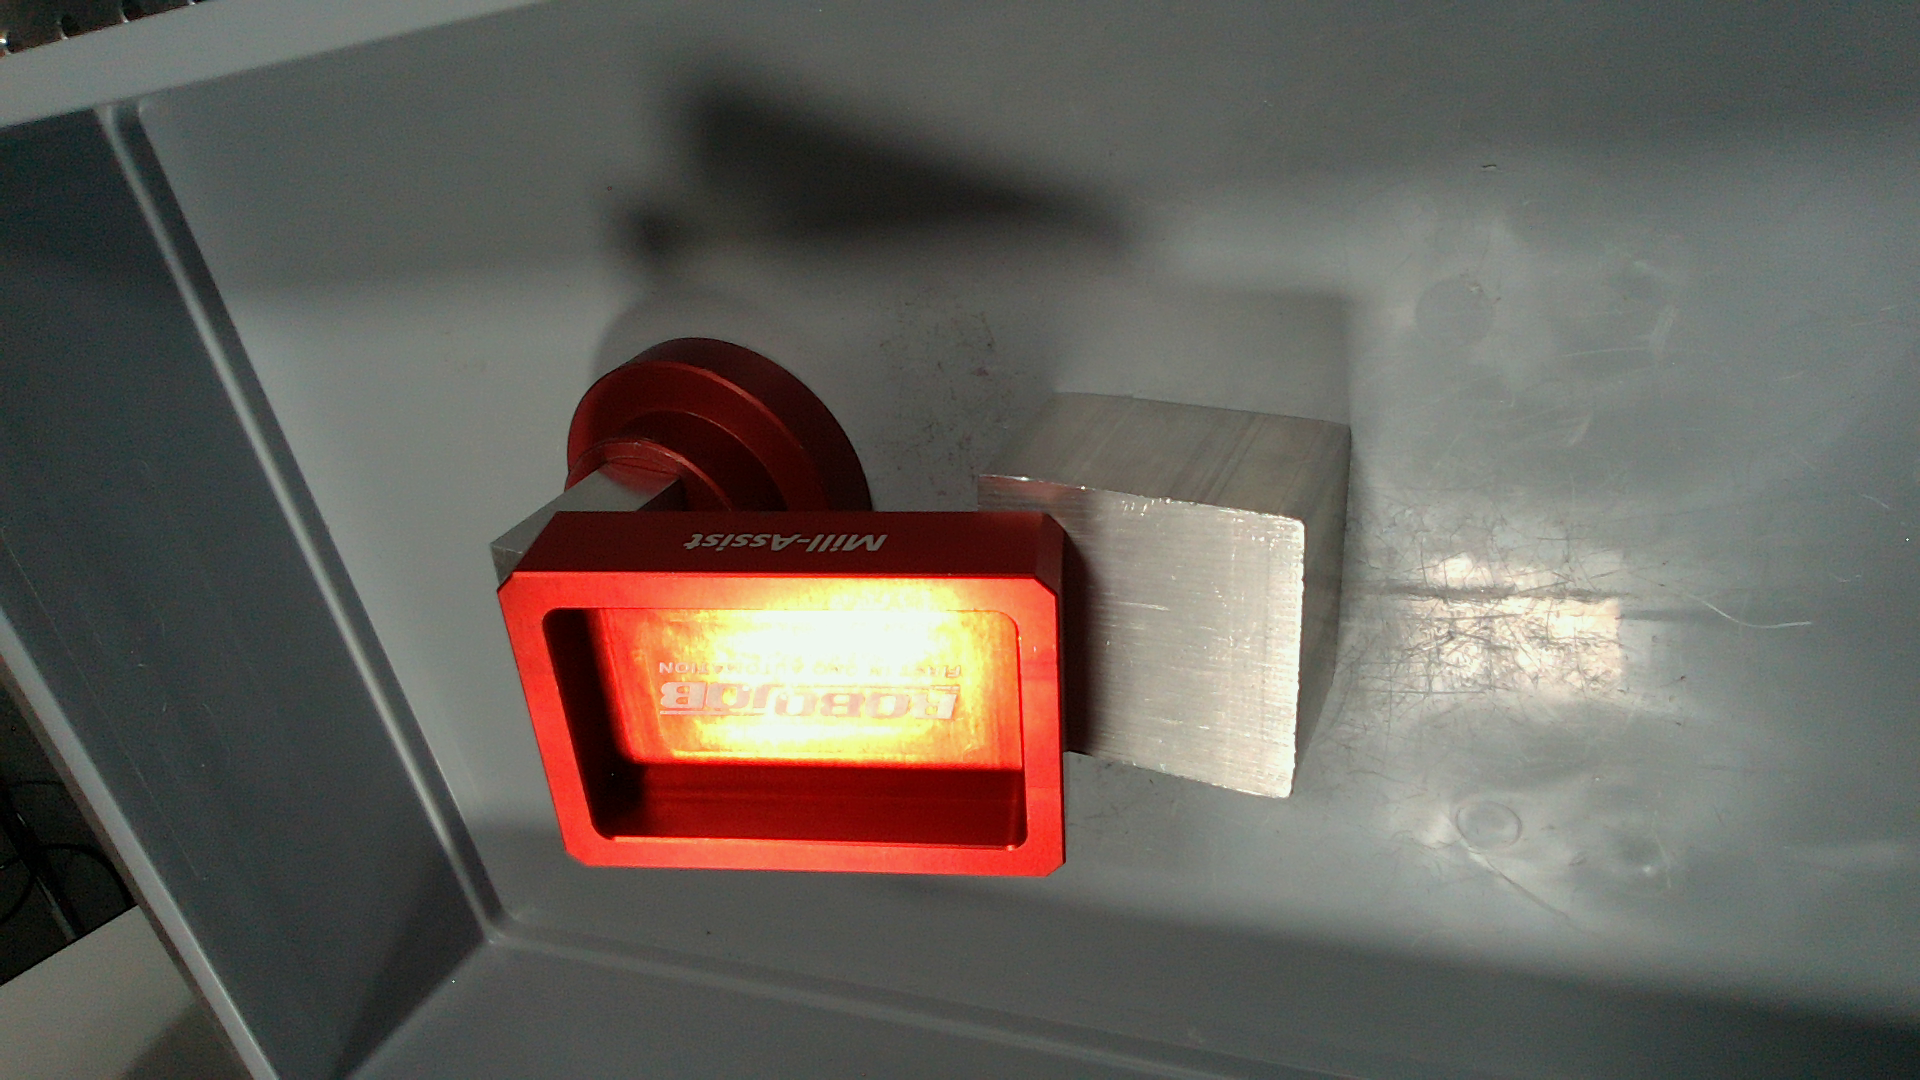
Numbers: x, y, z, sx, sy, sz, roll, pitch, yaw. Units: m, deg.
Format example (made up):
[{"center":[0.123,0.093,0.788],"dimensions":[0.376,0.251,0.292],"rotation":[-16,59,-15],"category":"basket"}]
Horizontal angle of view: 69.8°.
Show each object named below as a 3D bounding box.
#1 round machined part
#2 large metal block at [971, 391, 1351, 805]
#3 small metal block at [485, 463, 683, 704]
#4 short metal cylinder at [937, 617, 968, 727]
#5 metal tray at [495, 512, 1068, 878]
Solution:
[{"center":[-0.080,-0.008,0.418],"dimensions":[0.098,0.042,0.098],"rotation":[13,124,21],"category":"round machined part"},{"center":[0.052,0.013,0.353],"dimensions":[0.080,0.050,0.080],"rotation":[9,123,23],"category":"large metal block"},{"center":[-0.100,0.014,0.383],"dimensions":[0.025,0.050,0.050],"rotation":[12,123,22],"category":"small metal block"},{"center":[-0.020,0.052,0.403],"dimensions":[0.080,0.050,0.080],"rotation":[6,132,7],"category":"short metal cylinder"},{"center":[-0.039,0.039,0.342],"dimensions":[0.130,0.030,0.090],"rotation":[0,120,6],"category":"metal tray"}]
